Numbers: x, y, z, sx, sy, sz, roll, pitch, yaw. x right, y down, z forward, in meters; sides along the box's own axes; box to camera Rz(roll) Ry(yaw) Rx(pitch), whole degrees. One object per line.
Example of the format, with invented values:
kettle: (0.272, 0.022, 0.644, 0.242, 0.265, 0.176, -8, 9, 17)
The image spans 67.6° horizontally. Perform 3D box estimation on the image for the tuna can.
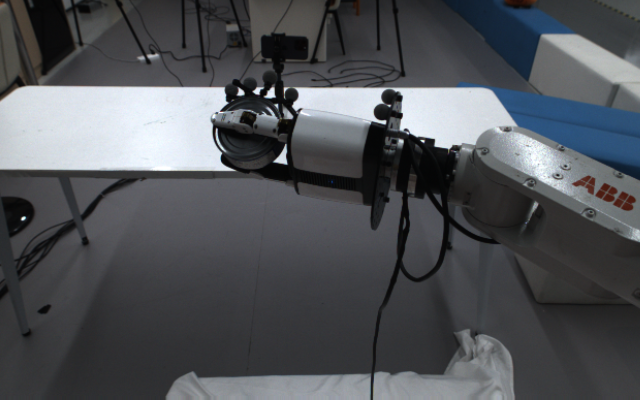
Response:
tuna can: (-0.085, -0.082, 0.593, 0.085, 0.034, 0.085, -3, 69, 7)
